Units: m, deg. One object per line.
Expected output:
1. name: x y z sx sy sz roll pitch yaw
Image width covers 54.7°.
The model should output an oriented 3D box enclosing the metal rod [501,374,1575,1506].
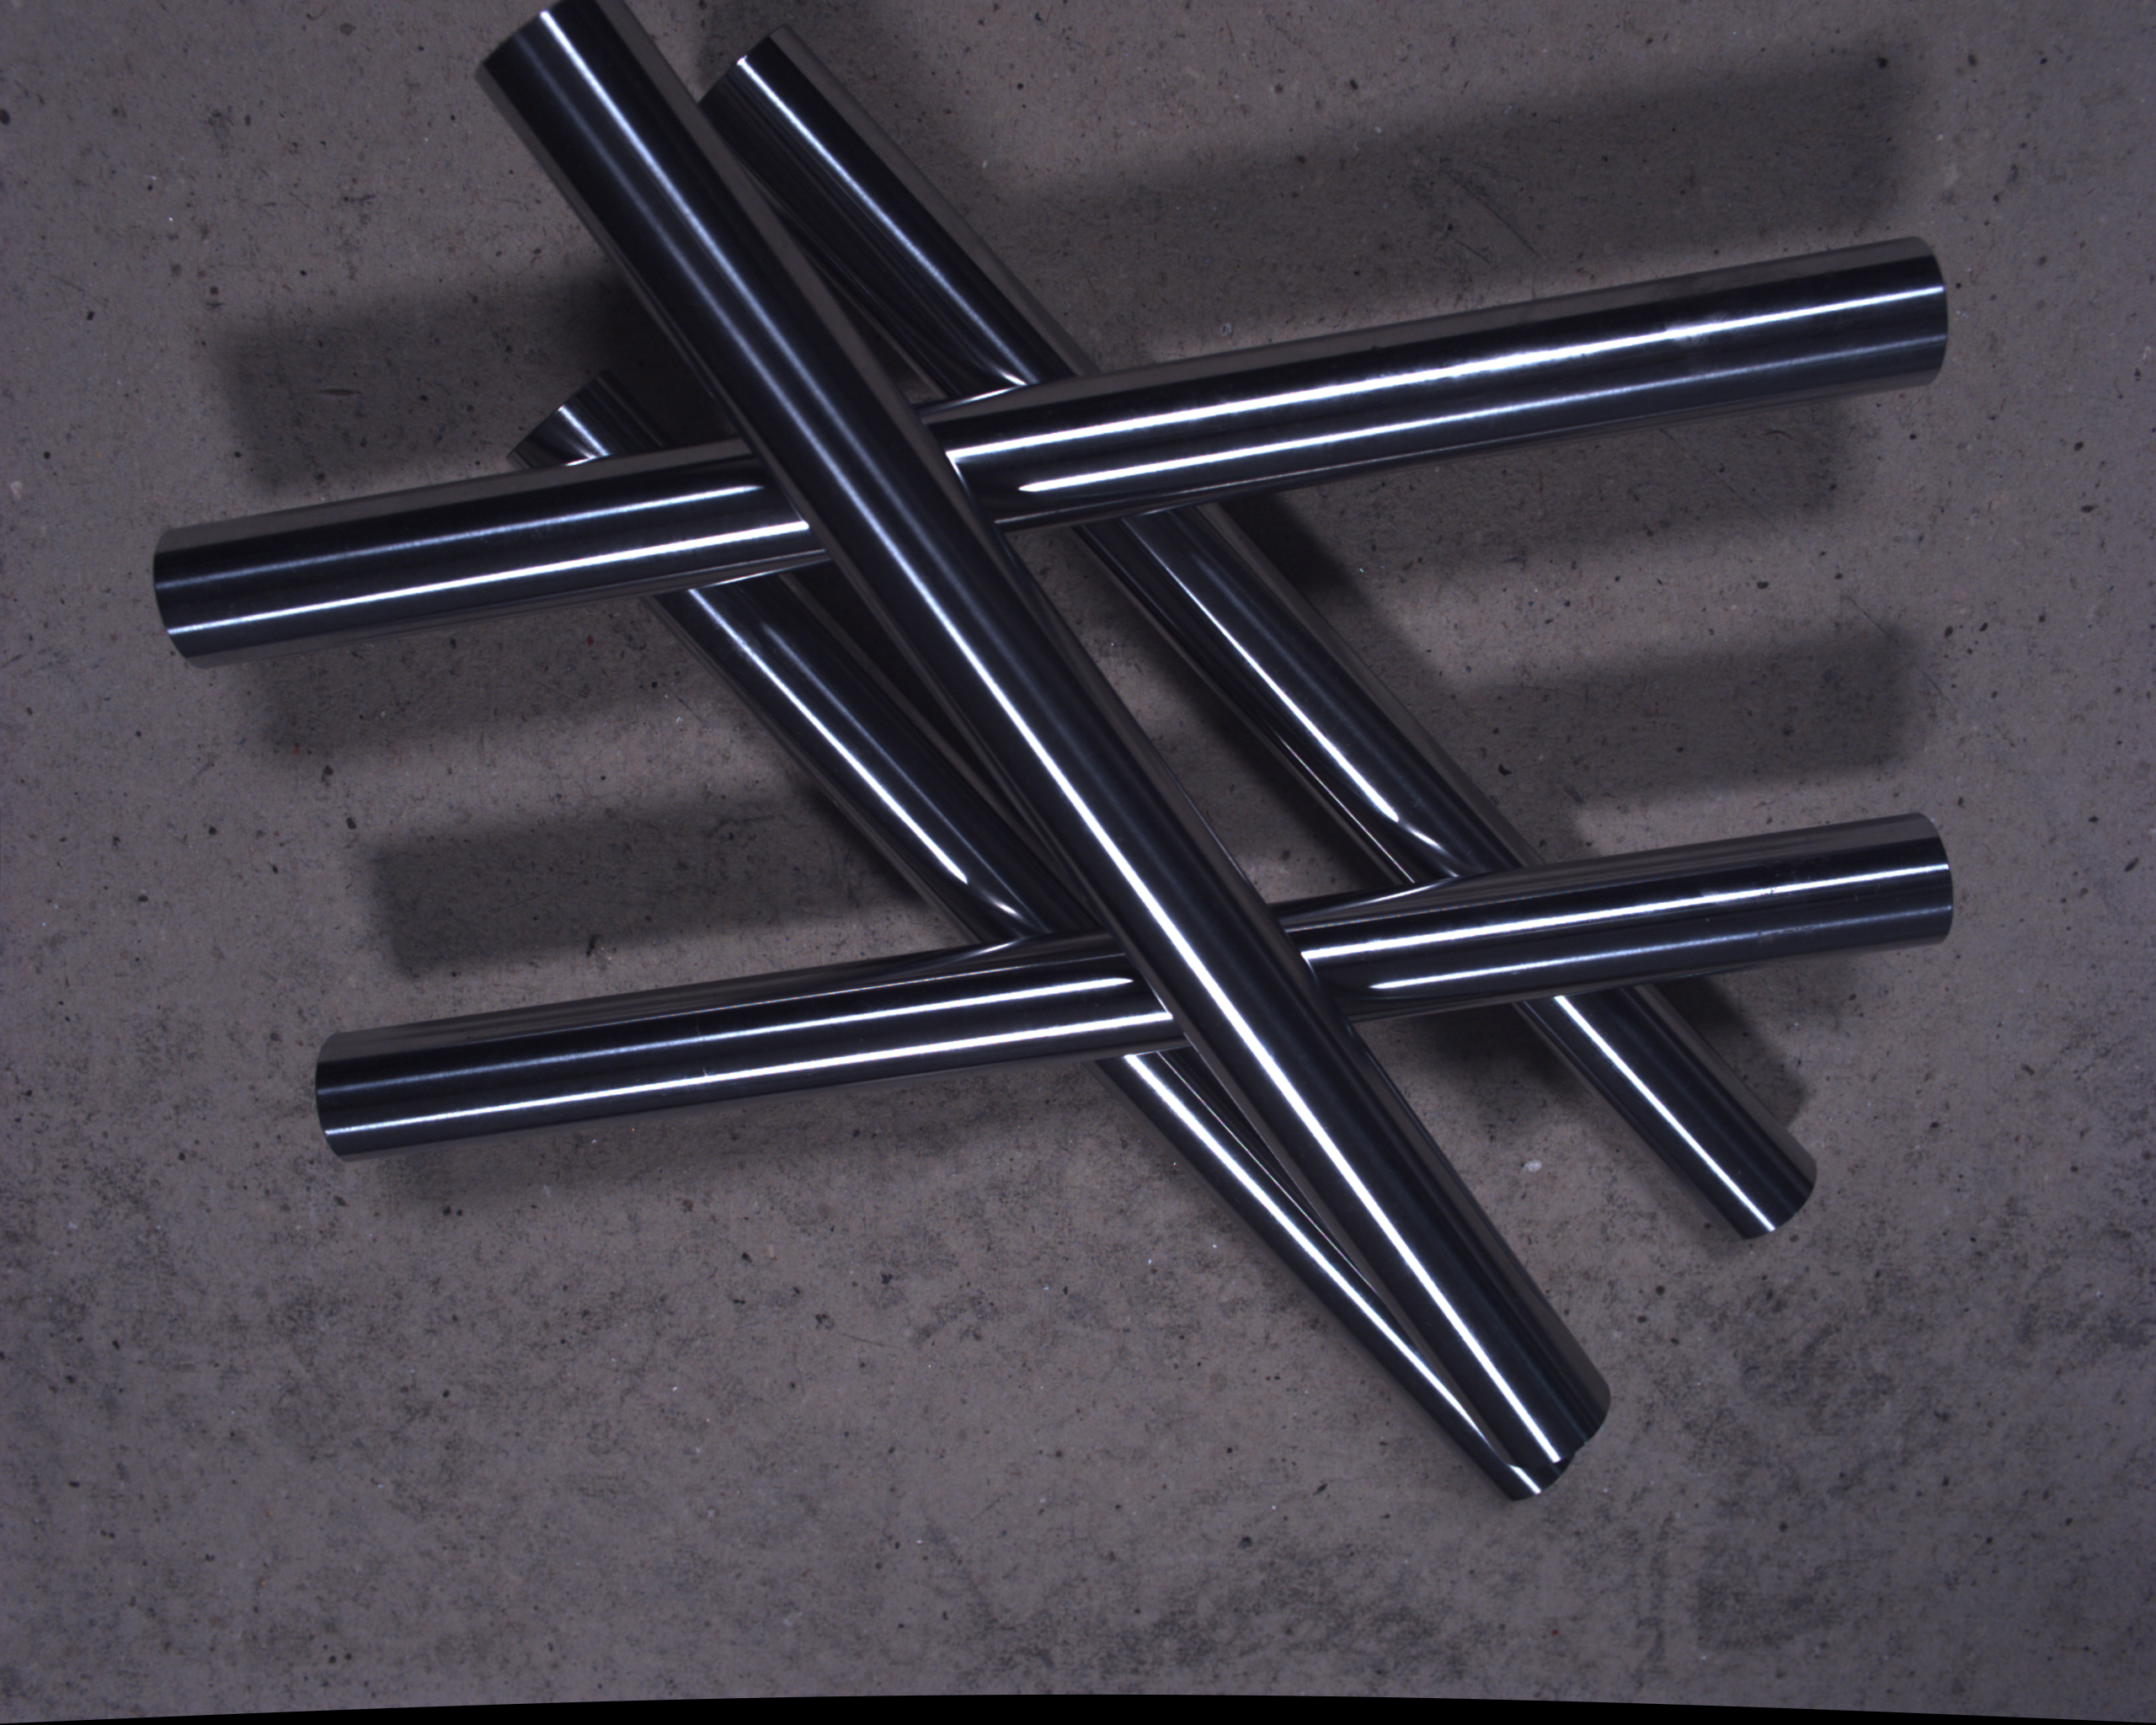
1. metal rod: 0.002 0.026 0.420 0.025 0.025 0.300 -39 106 13

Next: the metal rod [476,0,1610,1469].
1. metal rod: 0.006 -0.009 0.355 0.025 0.025 0.299 -33 107 11

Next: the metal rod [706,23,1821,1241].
1. metal rod: 0.043 -0.033 0.399 0.025 0.025 0.300 -41 106 13

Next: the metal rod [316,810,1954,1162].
1. metal rod: 0.009 0.024 0.394 0.302 0.025 0.025 -8 110 2

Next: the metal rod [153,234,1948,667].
1. metal rod: -0.007 -0.070 0.359 0.302 0.025 0.025 -9 110 2
